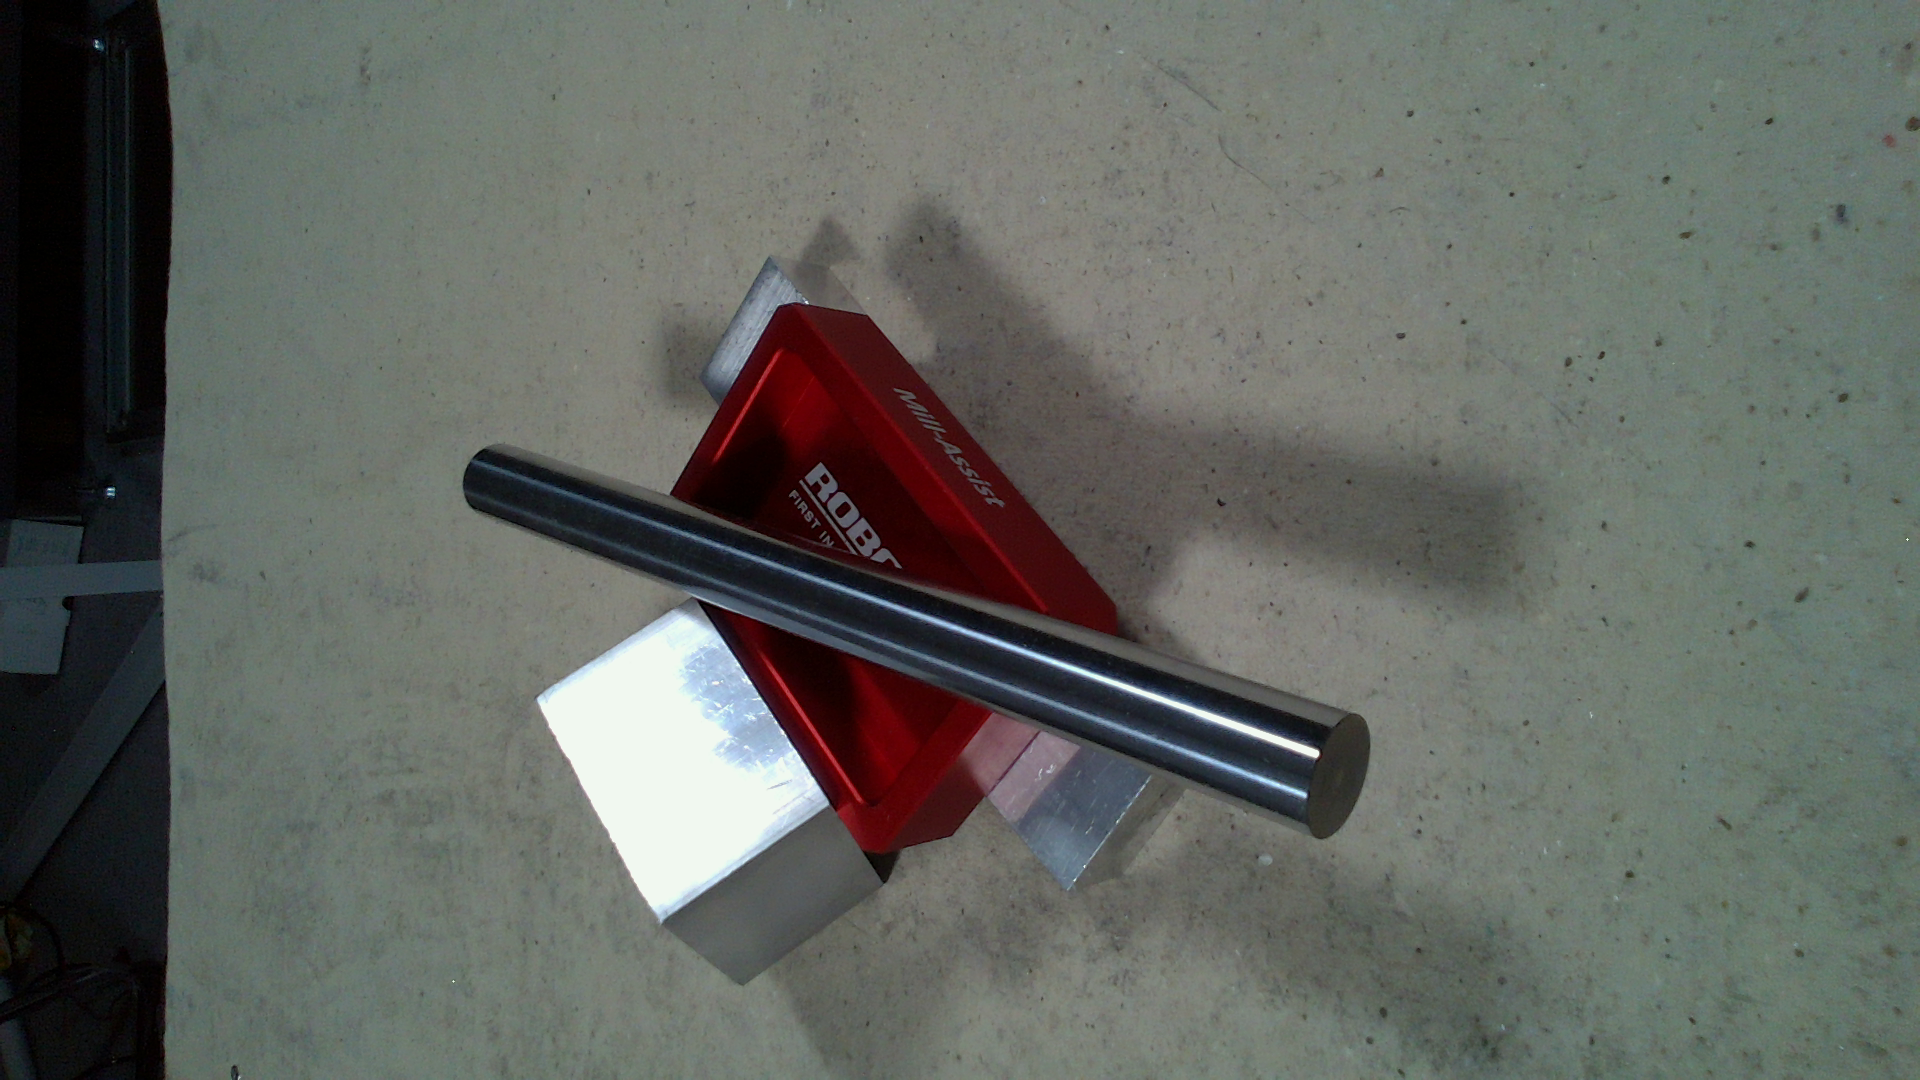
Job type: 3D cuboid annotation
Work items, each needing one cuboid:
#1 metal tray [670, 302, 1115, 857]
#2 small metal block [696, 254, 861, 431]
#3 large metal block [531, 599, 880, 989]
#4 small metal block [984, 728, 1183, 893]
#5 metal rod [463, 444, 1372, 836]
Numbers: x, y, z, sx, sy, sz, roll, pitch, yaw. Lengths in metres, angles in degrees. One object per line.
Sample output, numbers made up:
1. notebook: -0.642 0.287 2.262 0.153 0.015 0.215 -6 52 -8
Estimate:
1. metal tray: -0.027 0.009 0.381 0.130 0.030 0.090 51 120 28
2. small metal block: -0.052 -0.054 0.438 0.050 0.025 0.050 52 121 27
3. large metal block: -0.073 0.077 0.410 0.050 0.080 0.080 -34 61 -10
4. small metal block: 0.032 0.056 0.368 0.050 0.025 0.050 46 118 30
5. metal rod: -0.039 0.013 0.356 0.299 0.025 0.025 16 100 39
